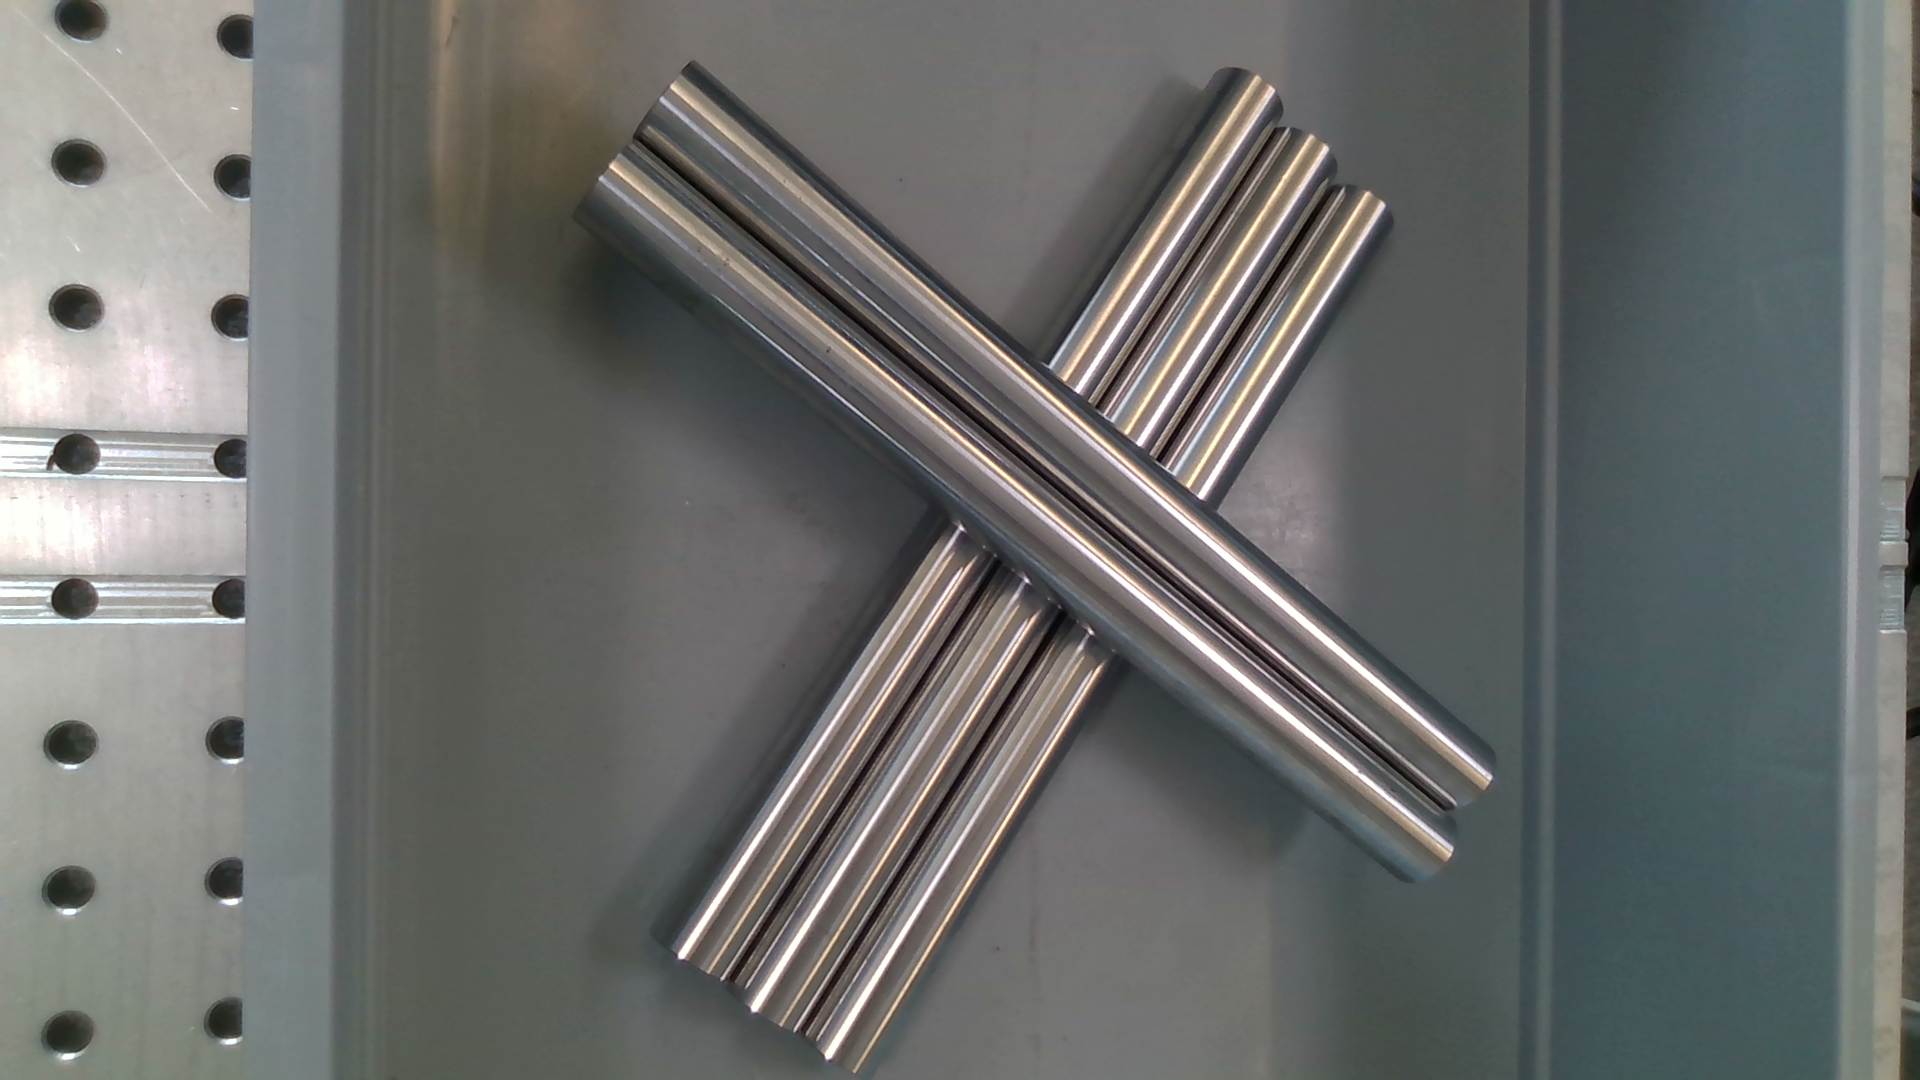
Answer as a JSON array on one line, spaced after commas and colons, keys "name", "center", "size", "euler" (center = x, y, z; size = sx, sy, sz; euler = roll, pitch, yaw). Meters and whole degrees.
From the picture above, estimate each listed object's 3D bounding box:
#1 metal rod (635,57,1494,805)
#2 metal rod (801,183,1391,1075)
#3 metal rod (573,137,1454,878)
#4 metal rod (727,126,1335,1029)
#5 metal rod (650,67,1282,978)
[{"name": "metal rod", "center": [0.040, -0.019, 0.381], "size": [0.300, 0.025, 0.025], "euler": [39, 78, -16]}, {"name": "metal rod", "center": [0.045, 0.018, 0.410], "size": [0.025, 0.025, 0.300], "euler": [37, 78, -16]}, {"name": "metal rod", "center": [0.027, 0.002, 0.376], "size": [0.300, 0.025, 0.025], "euler": [39, 78, -16]}, {"name": "metal rod", "center": [0.026, 0.002, 0.402], "size": [0.025, 0.025, 0.300], "euler": [36, 78, -16]}, {"name": "metal rod", "center": [0.008, -0.013, 0.396], "size": [0.025, 0.025, 0.300], "euler": [36, 78, -16]}]
